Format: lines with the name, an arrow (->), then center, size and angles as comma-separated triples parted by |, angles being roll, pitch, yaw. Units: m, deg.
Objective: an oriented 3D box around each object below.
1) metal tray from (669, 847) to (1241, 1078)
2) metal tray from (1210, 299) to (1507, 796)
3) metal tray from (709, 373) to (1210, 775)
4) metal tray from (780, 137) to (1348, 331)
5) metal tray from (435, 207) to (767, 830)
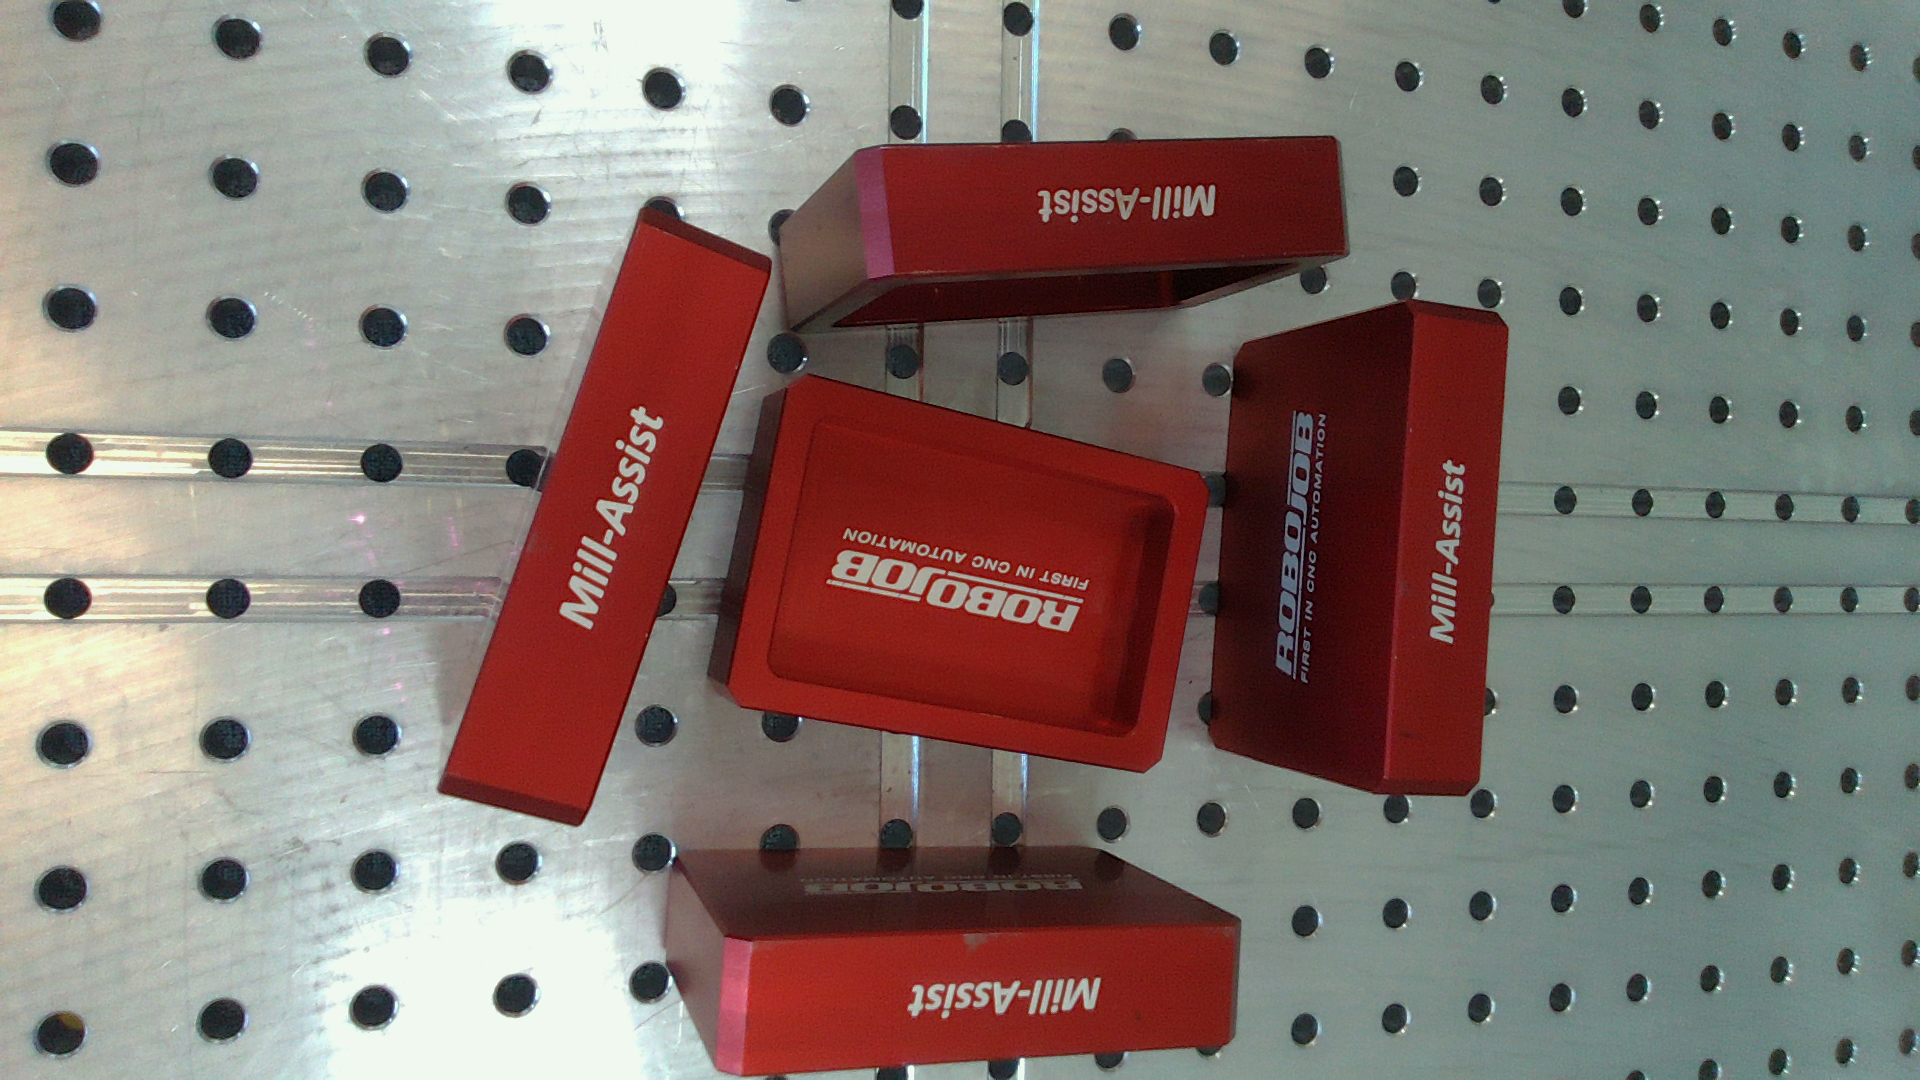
metal tray -> -0.005, 0.105, 0.360 | 0.130, 0.090, 0.030 | 4, 89, -20
metal tray -> 0.113, 0.003, 0.402 | 0.030, 0.090, 0.130 | 5, 88, -20
metal tray -> 0.002, 0.012, 0.393 | 0.130, 0.030, 0.090 | 12, 86, -20
metal tray -> 0.025, -0.081, 0.370 | 0.130, 0.090, 0.030 | -7, 92, -20
metal tray -> -0.088, -0.005, 0.329 | 0.030, 0.090, 0.130 | 19, 83, -18
